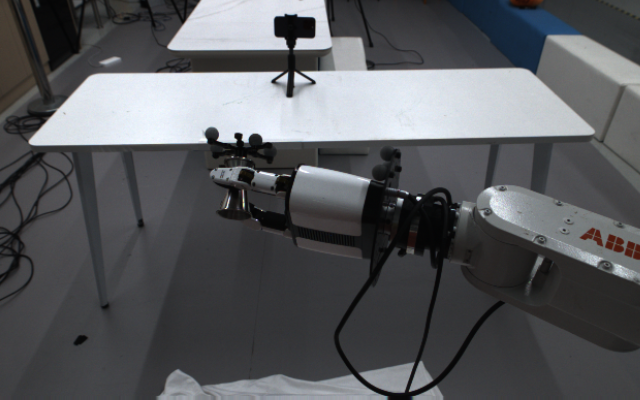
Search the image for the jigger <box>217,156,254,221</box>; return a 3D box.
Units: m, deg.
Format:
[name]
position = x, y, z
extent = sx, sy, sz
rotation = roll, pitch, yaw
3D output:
[jigger]
position = -0.102, -0.015, 0.590
extent = 0.043, 0.043, 0.071
rotation = 3, 72, 1
